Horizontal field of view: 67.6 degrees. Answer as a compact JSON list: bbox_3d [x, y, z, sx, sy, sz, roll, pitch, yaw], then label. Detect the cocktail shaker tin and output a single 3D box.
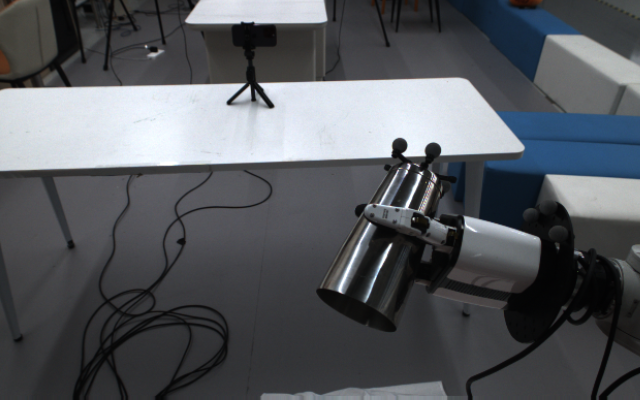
[{"bbox_3d":[0.078,0.043,0.529,0.093,0.093,0.170,17,67,21],"label":"cocktail shaker tin"}]
